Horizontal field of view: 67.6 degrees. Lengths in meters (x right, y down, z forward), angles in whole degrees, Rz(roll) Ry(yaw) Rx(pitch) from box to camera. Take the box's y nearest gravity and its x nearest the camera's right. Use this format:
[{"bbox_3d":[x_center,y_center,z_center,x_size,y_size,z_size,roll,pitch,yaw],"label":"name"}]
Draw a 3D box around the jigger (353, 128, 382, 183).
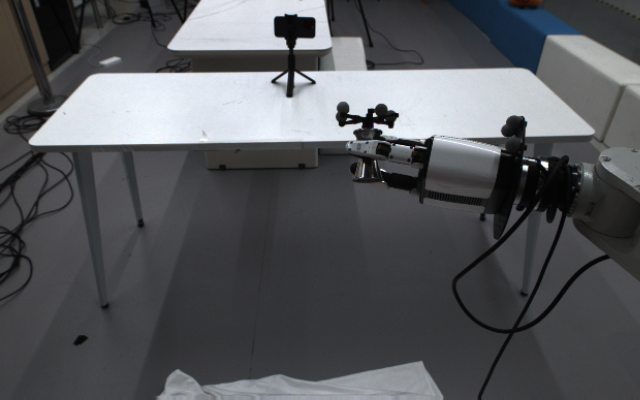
[{"bbox_3d":[0.064,-0.060,0.659,0.043,0.071,0.043,1,-5,0],"label":"jigger"}]
